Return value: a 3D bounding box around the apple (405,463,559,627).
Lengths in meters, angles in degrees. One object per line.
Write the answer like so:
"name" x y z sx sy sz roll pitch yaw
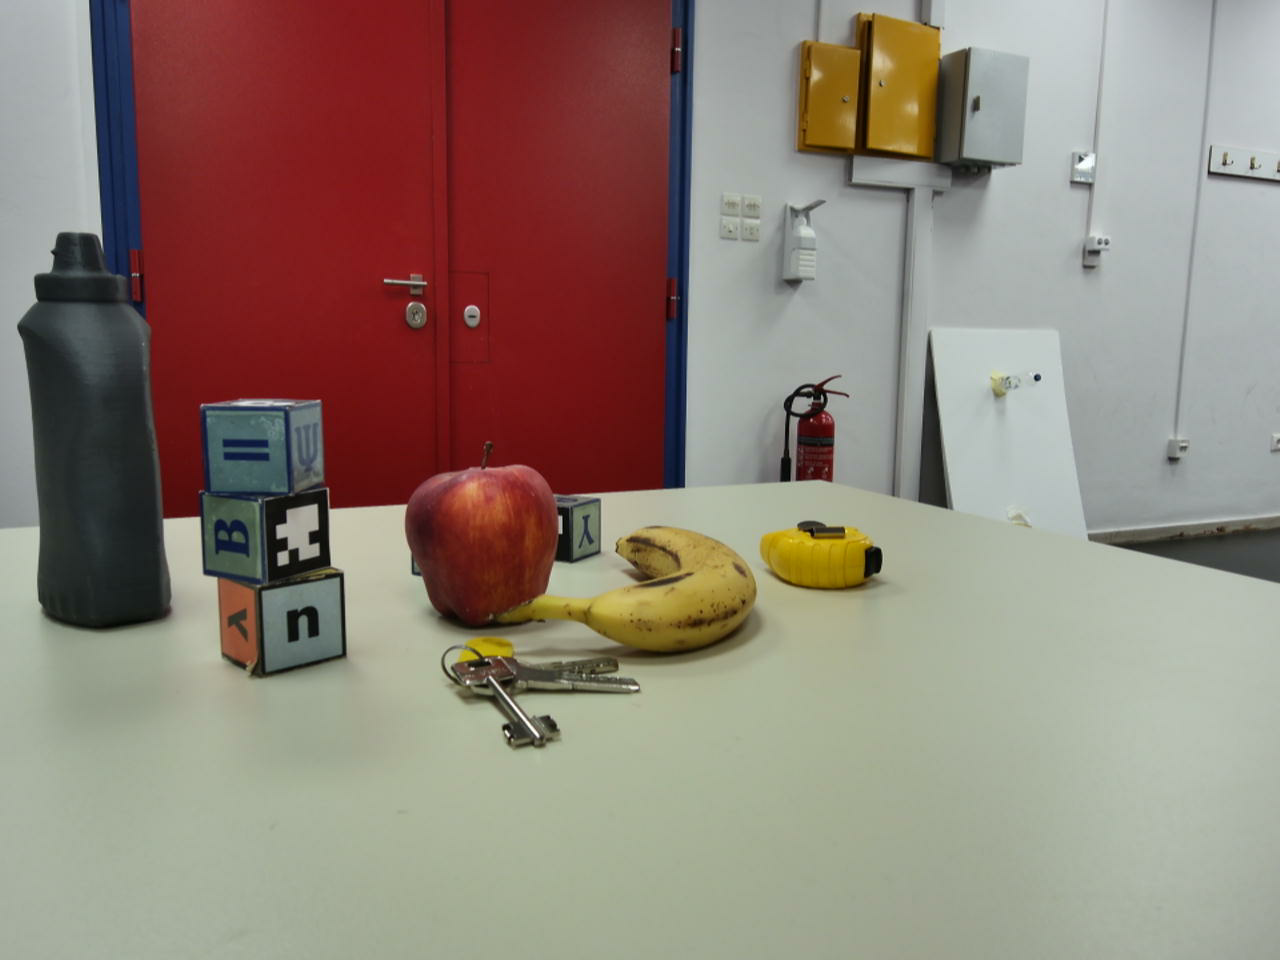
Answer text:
"apple" -0.081 0.027 0.512 0.083 0.090 0.083 1 6 0
